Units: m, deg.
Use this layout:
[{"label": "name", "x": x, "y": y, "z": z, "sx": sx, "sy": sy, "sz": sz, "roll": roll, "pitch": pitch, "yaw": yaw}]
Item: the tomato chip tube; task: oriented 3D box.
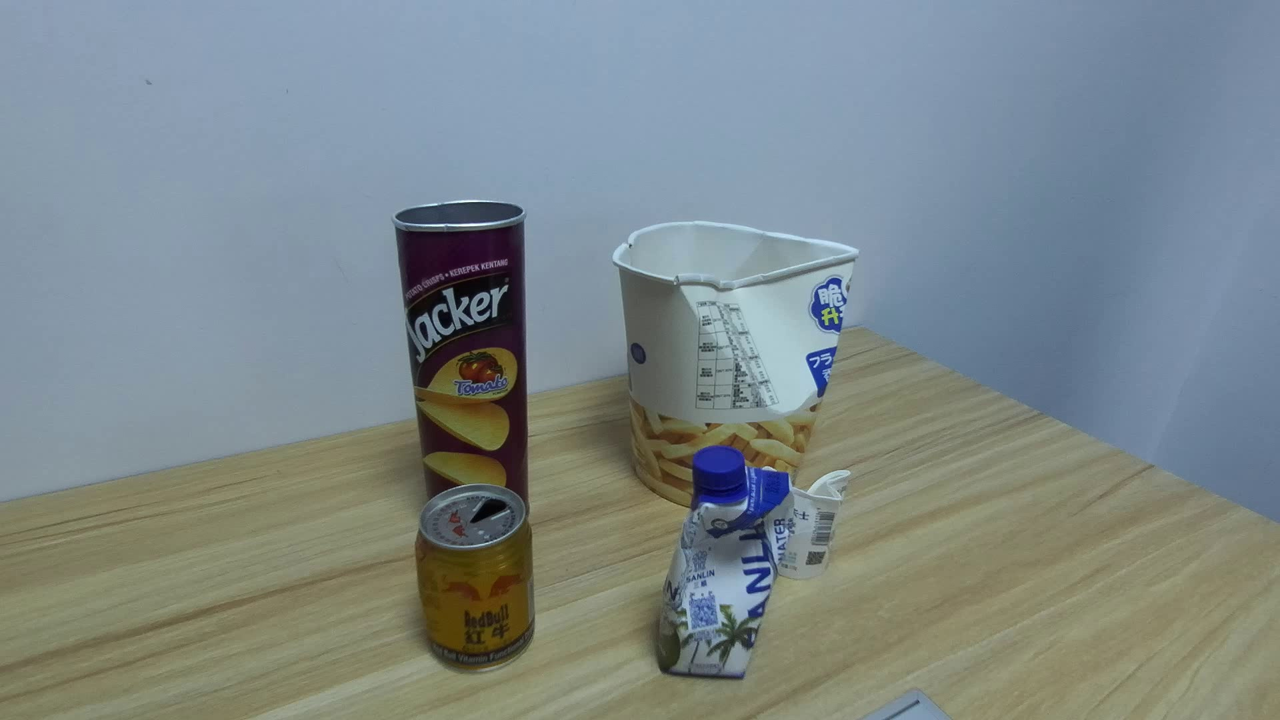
[{"label": "tomato chip tube", "x": -0.119, "y": 0.012, "z": 0.503, "sx": 0.080, "sy": 0.234, "sz": 0.076, "roll": 4, "pitch": 25, "yaw": 4}]

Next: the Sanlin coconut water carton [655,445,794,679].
[{"label": "Sanlin coconut water carton", "x": 0.051, "y": 0.117, "z": 0.401, "sx": 0.068, "sy": 0.144, "sz": 0.056, "roll": 10, "pitch": 32, "yaw": -3}]

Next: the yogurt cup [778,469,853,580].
[{"label": "yogurt cup", "x": 0.113, "y": 0.111, "z": 0.501, "sx": 0.054, "sy": 0.072, "sz": 0.055, "roll": 18, "pitch": 33, "yaw": 25}]

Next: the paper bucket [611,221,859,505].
[{"label": "paper bucket", "x": 0.065, "y": 0.006, "z": 0.576, "sx": 0.168, "sy": 0.202, "sz": 0.163, "roll": 14, "pitch": 29, "yaw": 29}]

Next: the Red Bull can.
[{"label": "Red Bull can", "x": -0.097, "y": 0.128, "z": 0.420, "sx": 0.068, "sy": 0.093, "sz": 0.068, "roll": 3, "pitch": 24, "yaw": -1}]
